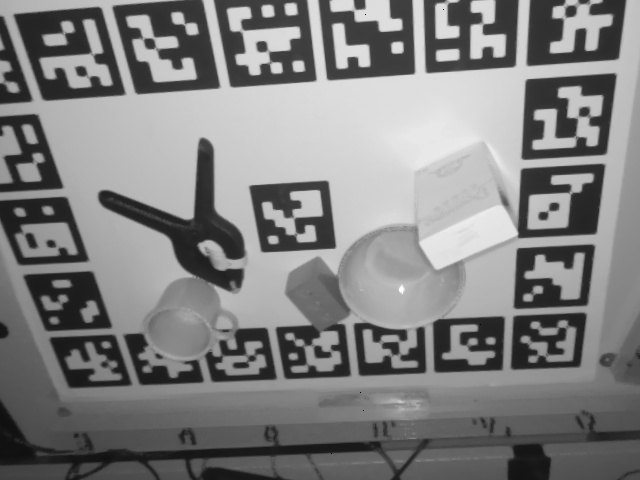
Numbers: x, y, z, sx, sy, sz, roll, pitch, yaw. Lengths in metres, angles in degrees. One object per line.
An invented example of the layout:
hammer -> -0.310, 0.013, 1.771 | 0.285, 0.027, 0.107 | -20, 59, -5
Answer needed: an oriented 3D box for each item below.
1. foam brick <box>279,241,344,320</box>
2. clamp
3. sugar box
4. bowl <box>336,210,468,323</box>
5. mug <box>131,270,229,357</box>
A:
foam brick -> -0.010, 0.051, 0.902 | 0.052, 0.052, 0.078 | -30, 111, 17
clamp -> -0.158, -0.026, 0.864 | 0.164, 0.037, 0.203 | -26, 113, 14
sugar box -> 0.154, -0.069, 0.750 | 0.092, 0.178, 0.045 | -27, 111, 19
bowl -> 0.102, 0.023, 0.871 | 0.161, 0.056, 0.160 | 2, 118, 4
mug -> -0.176, 0.096, 0.910 | 0.117, 0.082, 0.092 | 20, 118, -3
